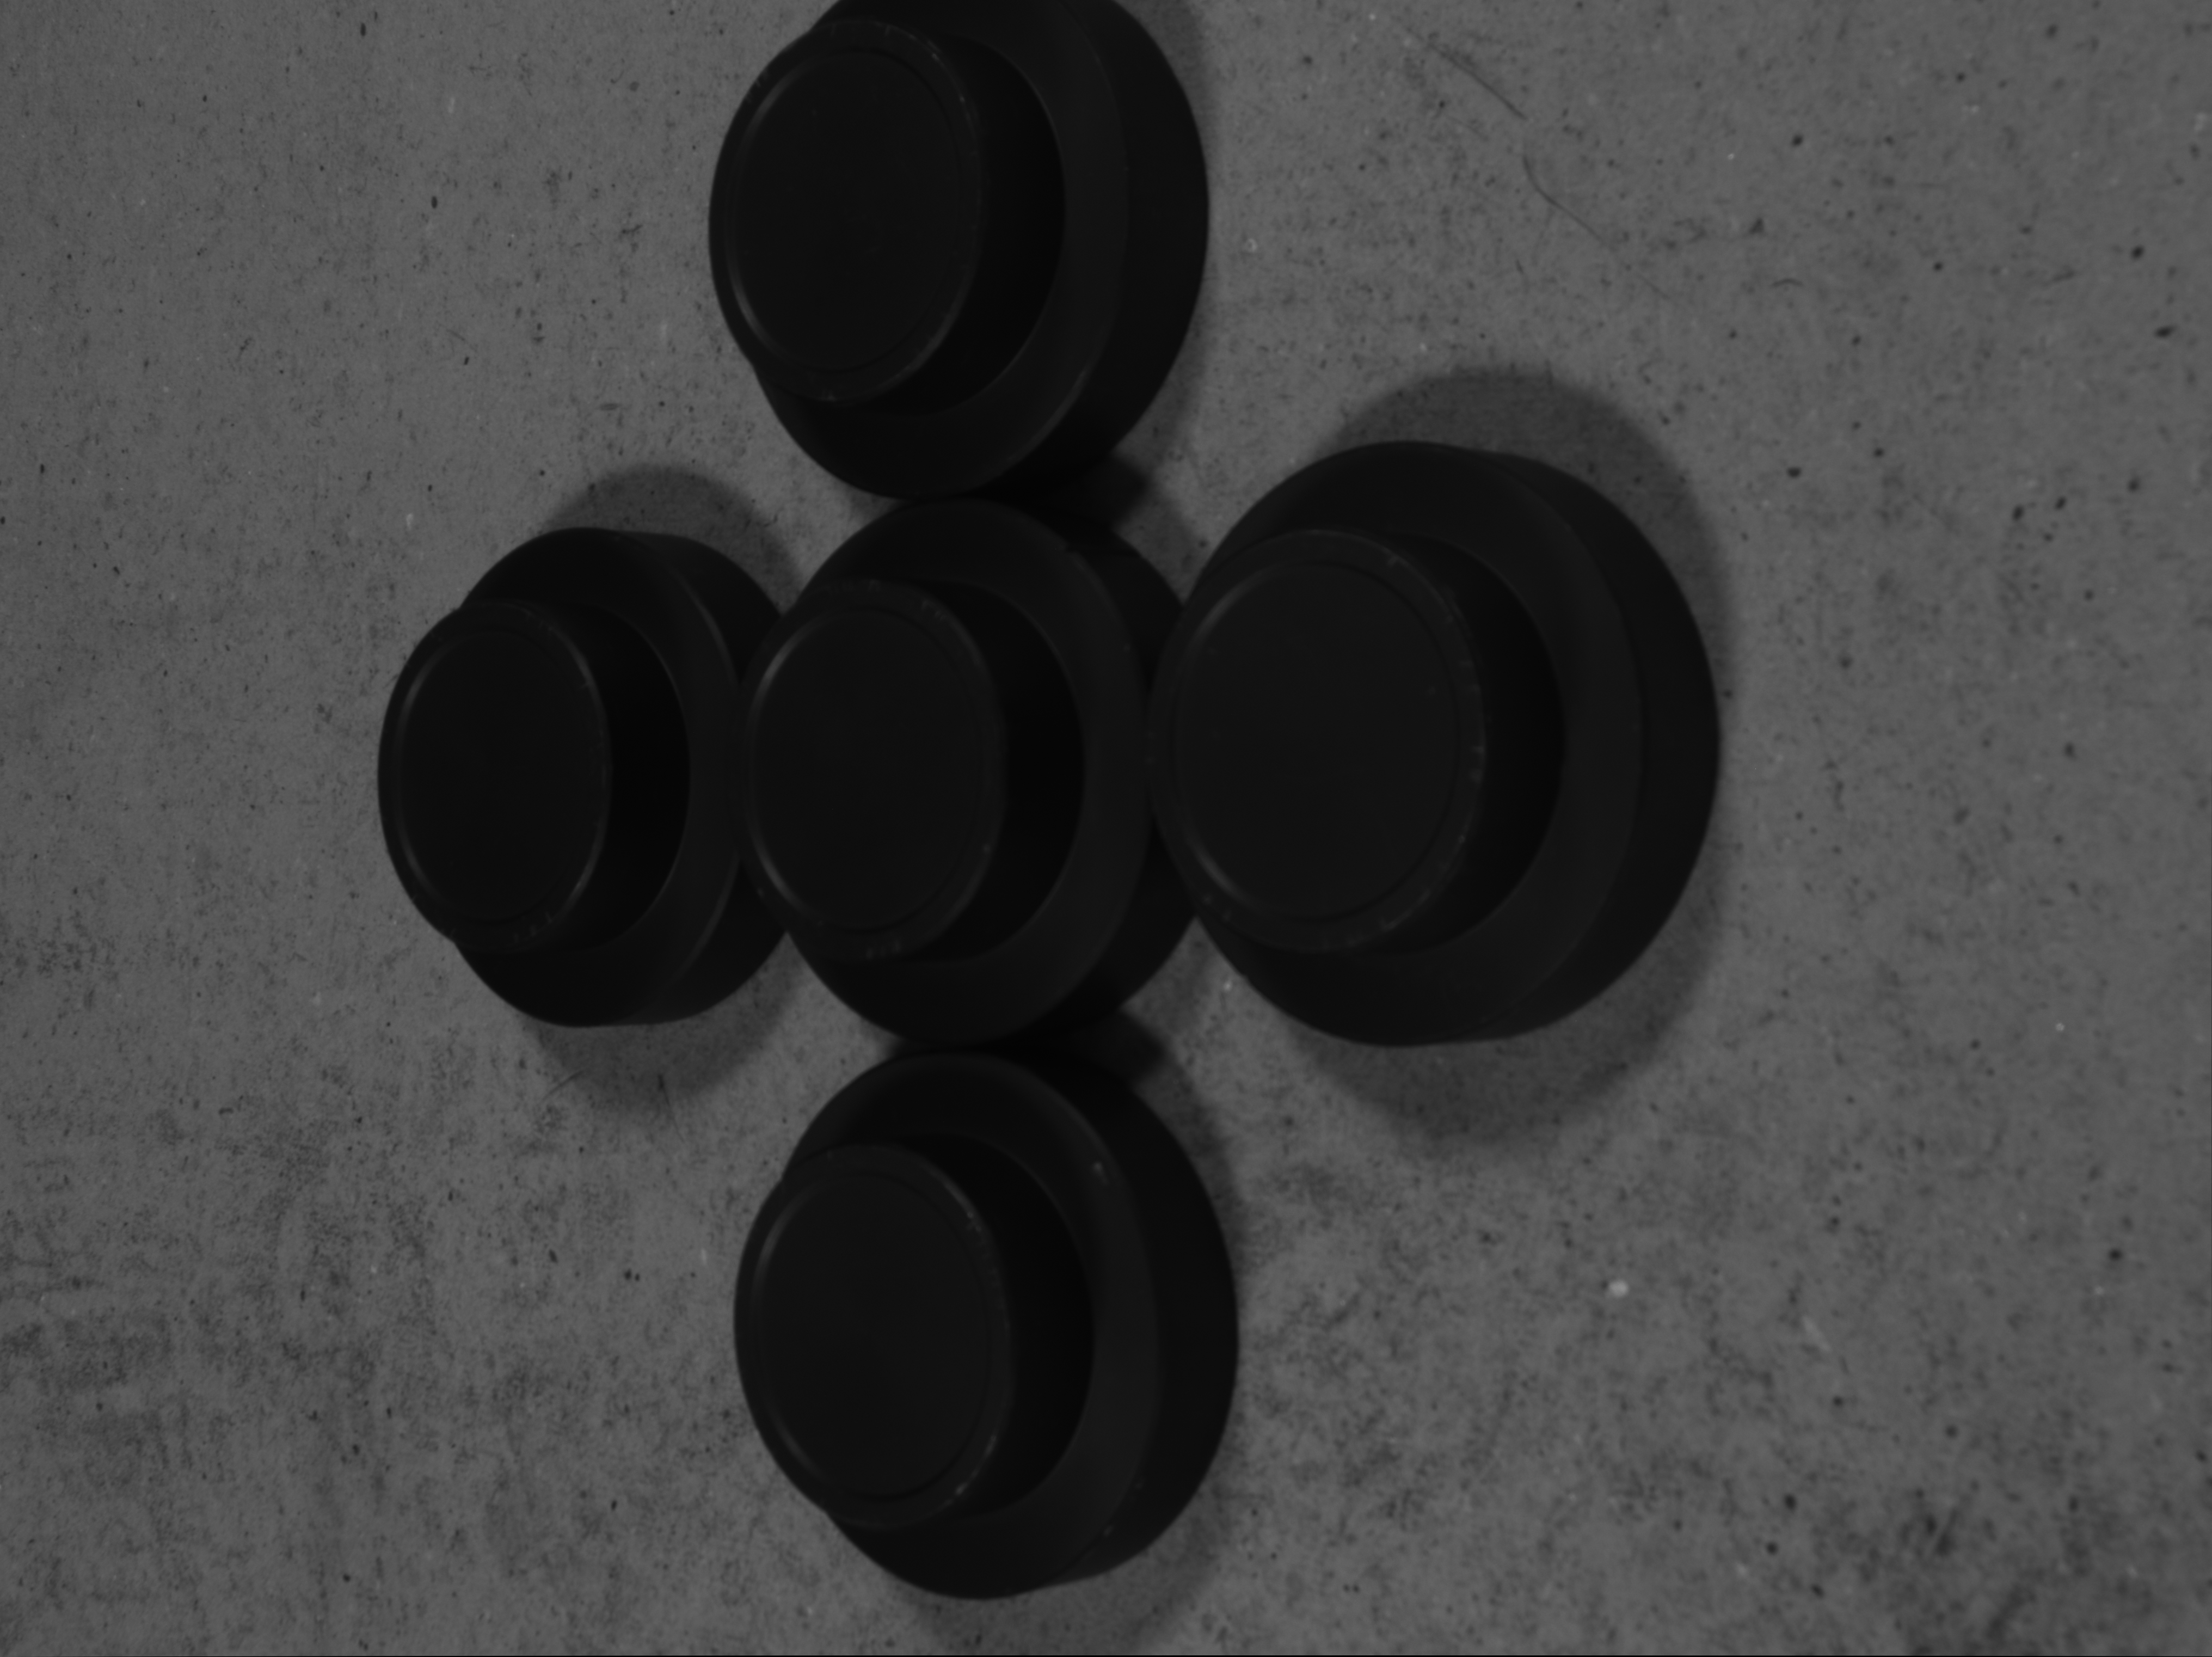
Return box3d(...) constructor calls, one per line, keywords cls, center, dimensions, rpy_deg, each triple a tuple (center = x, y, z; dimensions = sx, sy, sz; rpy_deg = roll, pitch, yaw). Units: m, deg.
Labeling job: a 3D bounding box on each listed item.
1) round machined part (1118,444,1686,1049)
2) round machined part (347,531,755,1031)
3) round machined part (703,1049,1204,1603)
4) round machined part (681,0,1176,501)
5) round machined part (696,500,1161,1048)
box3d(cls="round machined part", center=(0.041, -0.013, 0.592), dimensions=(0.098, 0.042, 0.098), rpy_deg=(0, 90, 39))
box3d(cls="round machined part", center=(-0.111, -0.009, 0.716), dimensions=(0.098, 0.042, 0.098), rpy_deg=(0, 90, 39))
box3d(cls="round machined part", center=(-0.033, 0.089, 0.652), dimensions=(0.098, 0.042, 0.098), rpy_deg=(0, 90, 39))
box3d(cls="round machined part", center=(-0.038, -0.108, 0.657), dimensions=(0.098, 0.042, 0.098), rpy_deg=(0, 90, 39))
box3d(cls="round machined part", center=(-0.035, -0.010, 0.654), dimensions=(0.098, 0.042, 0.098), rpy_deg=(0, 90, 39))
